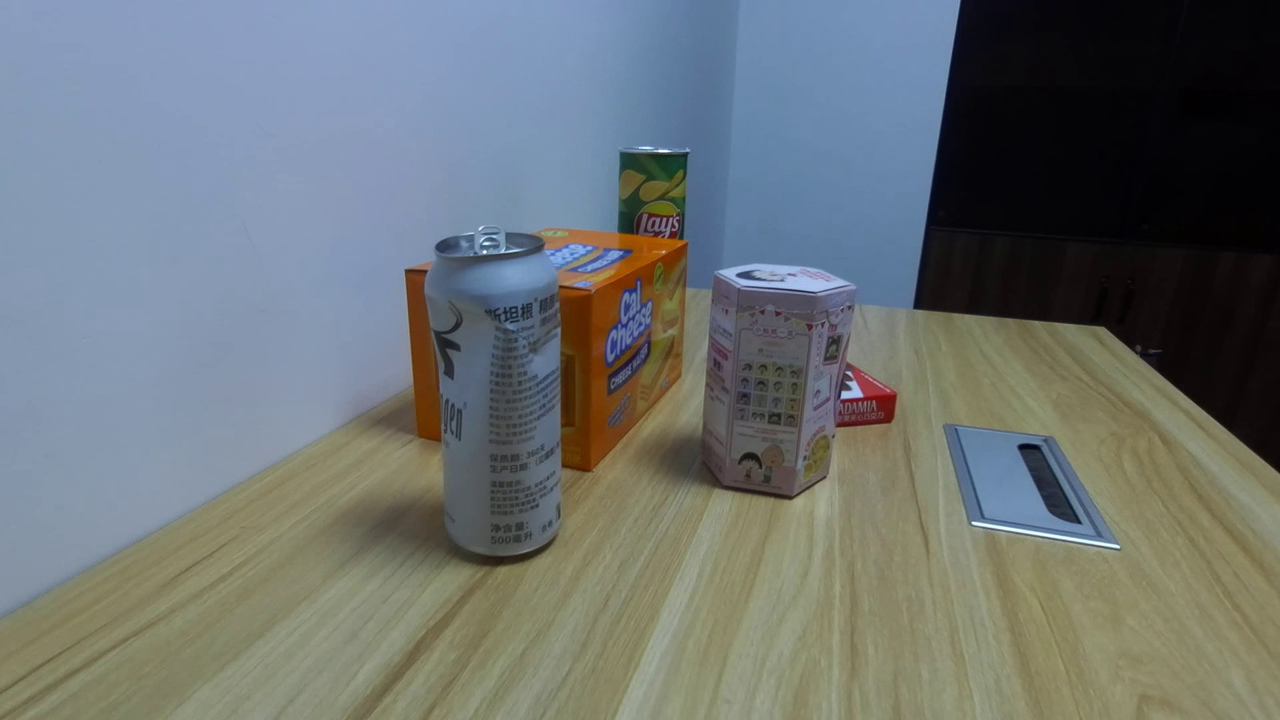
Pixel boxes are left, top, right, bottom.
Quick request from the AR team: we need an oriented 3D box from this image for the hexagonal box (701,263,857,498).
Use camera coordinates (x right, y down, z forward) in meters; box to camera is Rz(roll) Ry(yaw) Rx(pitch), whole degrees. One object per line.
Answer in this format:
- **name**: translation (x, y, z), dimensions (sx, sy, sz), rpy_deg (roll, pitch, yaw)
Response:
- **hexagonal box**: translation (0.090, 0.011, 0.469), dimensions (0.084, 0.136, 0.091), rpy_deg (-4, 20, -15)

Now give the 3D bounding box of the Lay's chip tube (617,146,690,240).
- **Lay's chip tube**: translation (0.013, -0.112, 0.718), dimensions (0.071, 0.202, 0.071), rpy_deg (1, 20, 0)

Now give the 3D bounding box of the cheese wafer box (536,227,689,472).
- **cheese wafer box**: translation (-0.060, -0.024, 0.579), dimensions (0.148, 0.129, 0.222), rpy_deg (9, 20, 19)

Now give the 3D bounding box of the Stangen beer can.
- **Stangen beer can**: translation (-0.077, 0.019, 0.379), dimensions (0.069, 0.173, 0.070), rpy_deg (2, 19, 3)

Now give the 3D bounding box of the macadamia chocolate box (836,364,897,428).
- **macadamia chocolate box**: translation (0.142, 0.013, 0.643), dimensions (0.096, 0.027, 0.177), rpy_deg (-5, 21, -11)
